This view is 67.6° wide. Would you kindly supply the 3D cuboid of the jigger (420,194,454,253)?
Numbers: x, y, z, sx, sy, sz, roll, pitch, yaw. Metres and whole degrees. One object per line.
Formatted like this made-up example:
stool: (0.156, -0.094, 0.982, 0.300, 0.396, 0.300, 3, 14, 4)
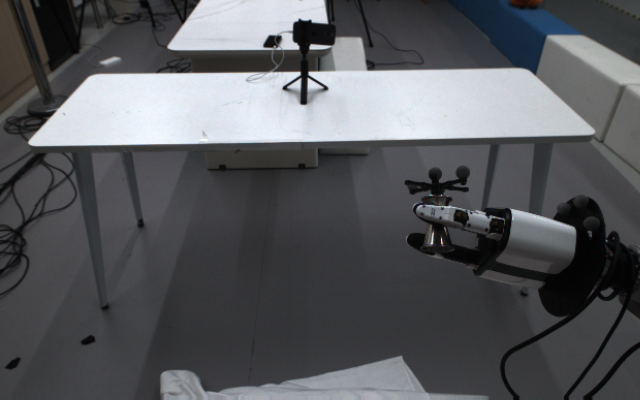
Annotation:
jigger: (0.151, 0.030, 0.633, 0.043, 0.043, 0.071, 3, 75, 1)
